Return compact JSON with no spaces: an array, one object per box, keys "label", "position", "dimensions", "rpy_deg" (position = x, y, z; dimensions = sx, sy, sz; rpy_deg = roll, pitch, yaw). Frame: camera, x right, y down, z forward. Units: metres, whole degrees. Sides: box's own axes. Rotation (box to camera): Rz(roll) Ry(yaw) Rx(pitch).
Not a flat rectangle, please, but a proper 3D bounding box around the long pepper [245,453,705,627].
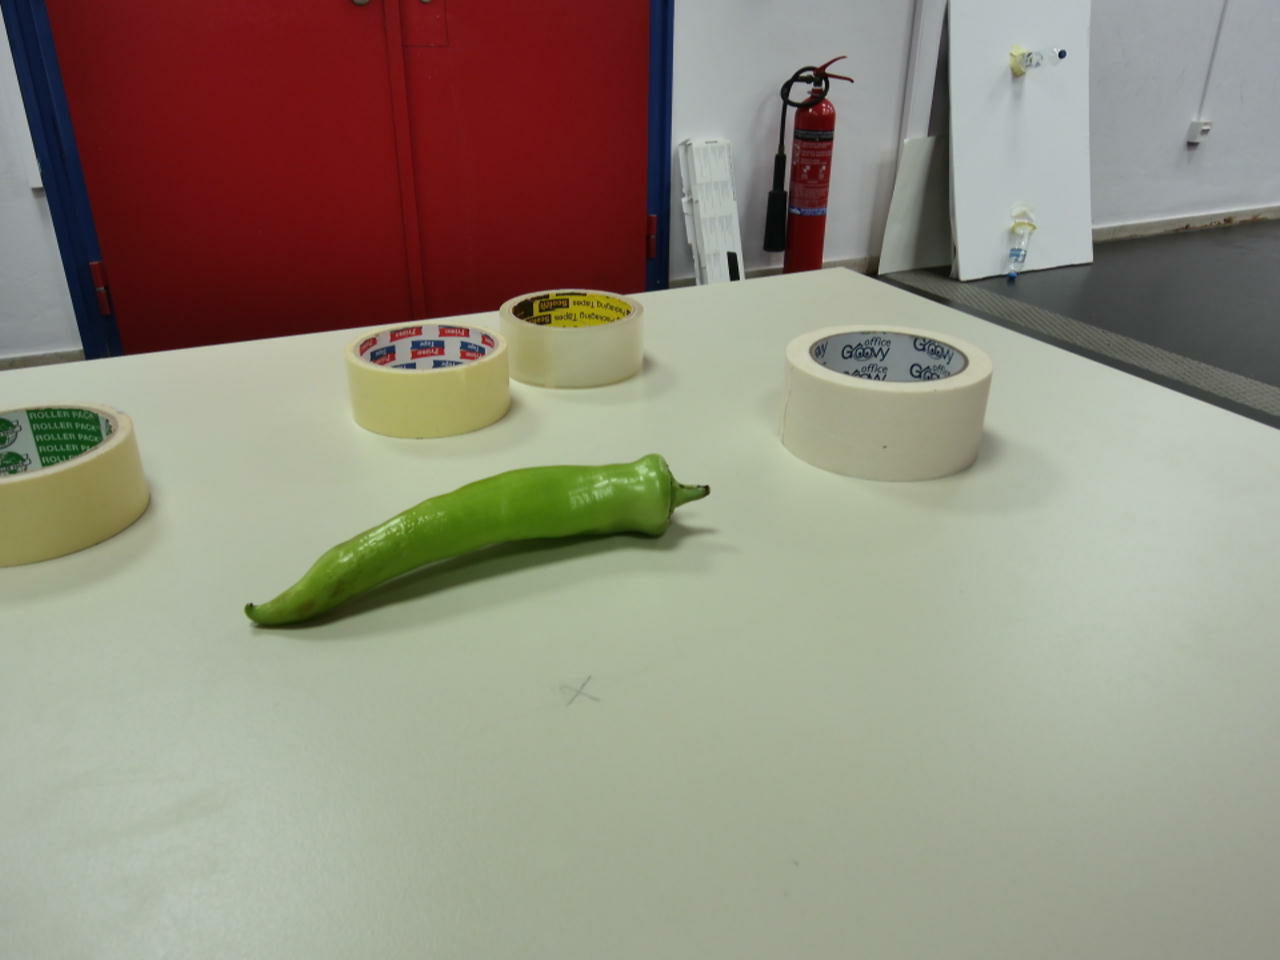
[{"label":"long pepper","position":[-0.065,0.018,0.420],"dimensions":[0.197,0.038,0.047],"rpy_deg":[-10,26,-22]}]
